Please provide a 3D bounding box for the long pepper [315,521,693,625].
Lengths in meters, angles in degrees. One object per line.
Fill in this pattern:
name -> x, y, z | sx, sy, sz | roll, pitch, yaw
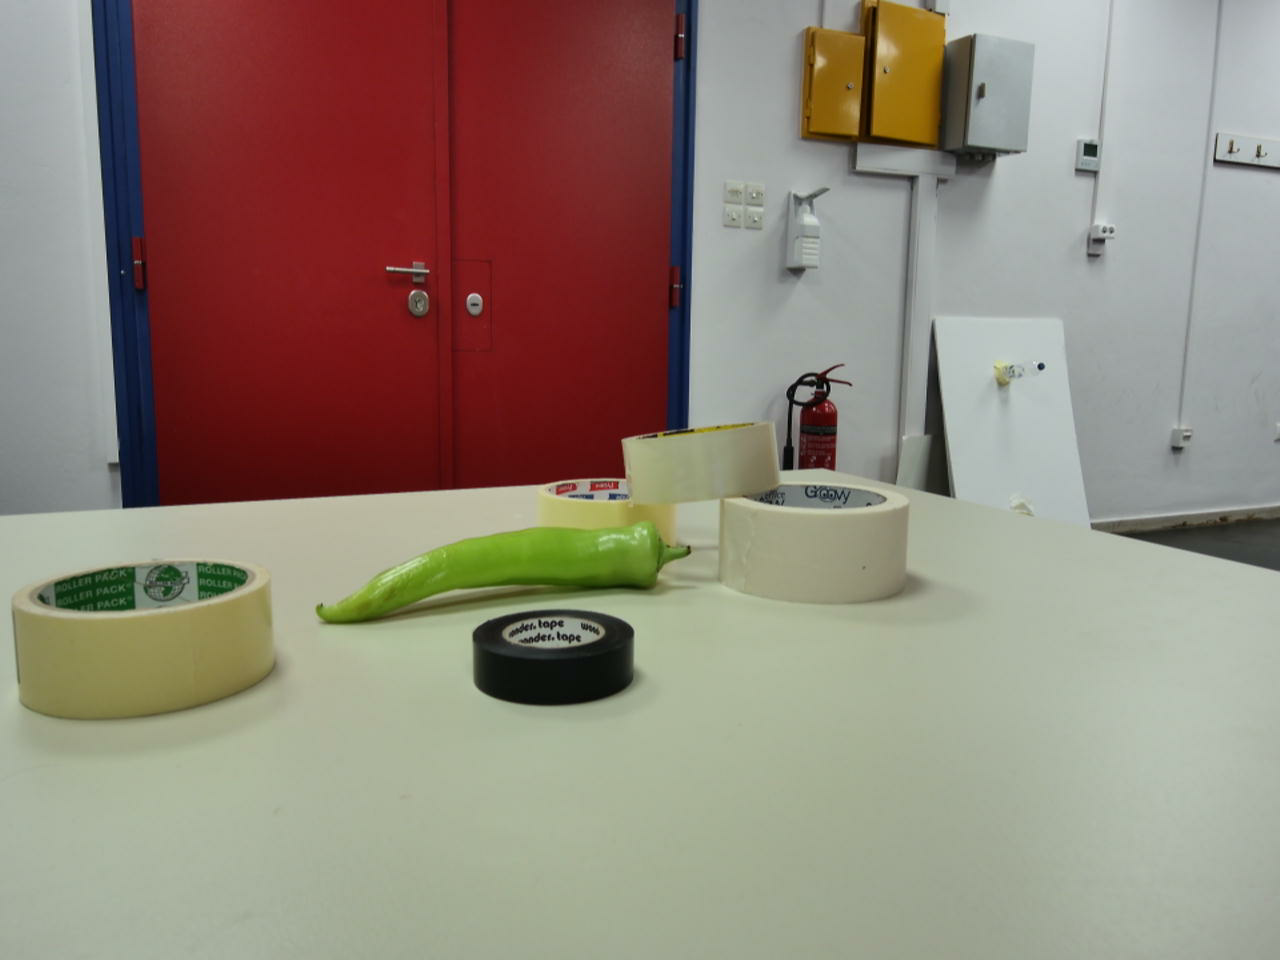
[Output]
long pepper -> -0.068, 0.044, 0.521 | 0.197, 0.038, 0.047 | -3, 7, -23
